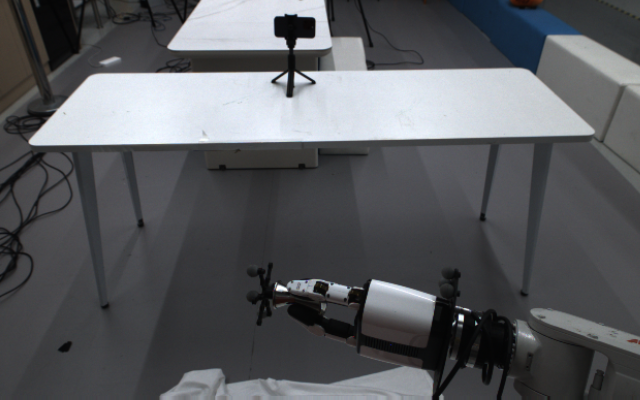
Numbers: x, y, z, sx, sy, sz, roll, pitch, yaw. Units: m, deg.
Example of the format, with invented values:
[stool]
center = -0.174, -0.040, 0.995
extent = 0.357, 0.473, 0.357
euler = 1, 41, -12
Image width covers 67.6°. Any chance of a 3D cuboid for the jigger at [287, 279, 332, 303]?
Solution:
[jigger]
center = -0.019, 0.128, 0.662
extent = 0.071, 0.043, 0.043
euler = 2, 34, 12
